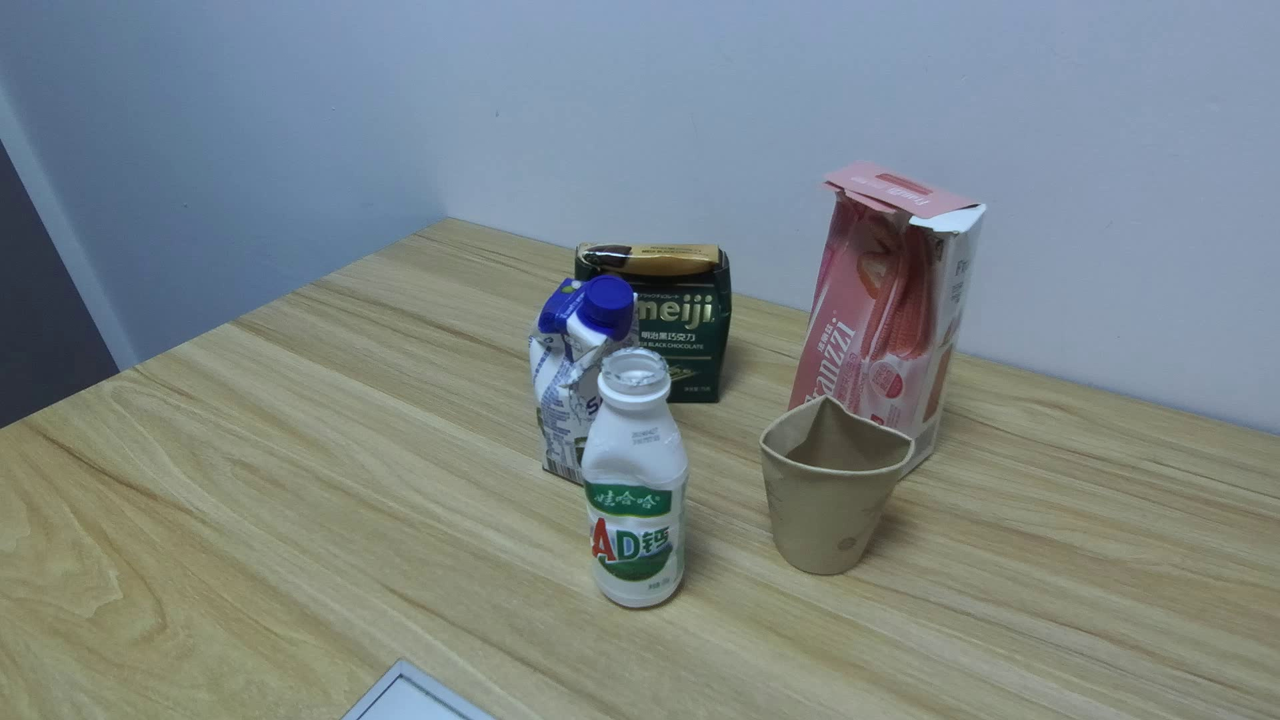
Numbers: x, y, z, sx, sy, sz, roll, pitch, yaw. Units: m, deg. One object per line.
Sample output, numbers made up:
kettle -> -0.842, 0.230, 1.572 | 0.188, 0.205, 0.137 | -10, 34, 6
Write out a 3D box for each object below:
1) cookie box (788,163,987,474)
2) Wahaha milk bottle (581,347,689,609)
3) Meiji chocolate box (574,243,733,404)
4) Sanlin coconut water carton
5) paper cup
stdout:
cookie box -> 0.151, -0.022, 0.456 | 0.055, 0.184, 0.118 | -19, 37, -26
Wahaha milk bottle -> 0.000, 0.062, 0.364 | 0.055, 0.149, 0.055 | -1, 34, 1
Meiji chocolate box -> 0.007, -0.028, 0.539 | 0.113, 0.111, 0.058 | 1, 22, 1
Sanlin coconut water carton -> -0.034, 0.012, 0.445 | 0.069, 0.144, 0.061 | 18, 38, 28
paper cup -> 0.105, 0.075, 0.398 | 0.066, 0.084, 0.071 | -28, 42, -34
